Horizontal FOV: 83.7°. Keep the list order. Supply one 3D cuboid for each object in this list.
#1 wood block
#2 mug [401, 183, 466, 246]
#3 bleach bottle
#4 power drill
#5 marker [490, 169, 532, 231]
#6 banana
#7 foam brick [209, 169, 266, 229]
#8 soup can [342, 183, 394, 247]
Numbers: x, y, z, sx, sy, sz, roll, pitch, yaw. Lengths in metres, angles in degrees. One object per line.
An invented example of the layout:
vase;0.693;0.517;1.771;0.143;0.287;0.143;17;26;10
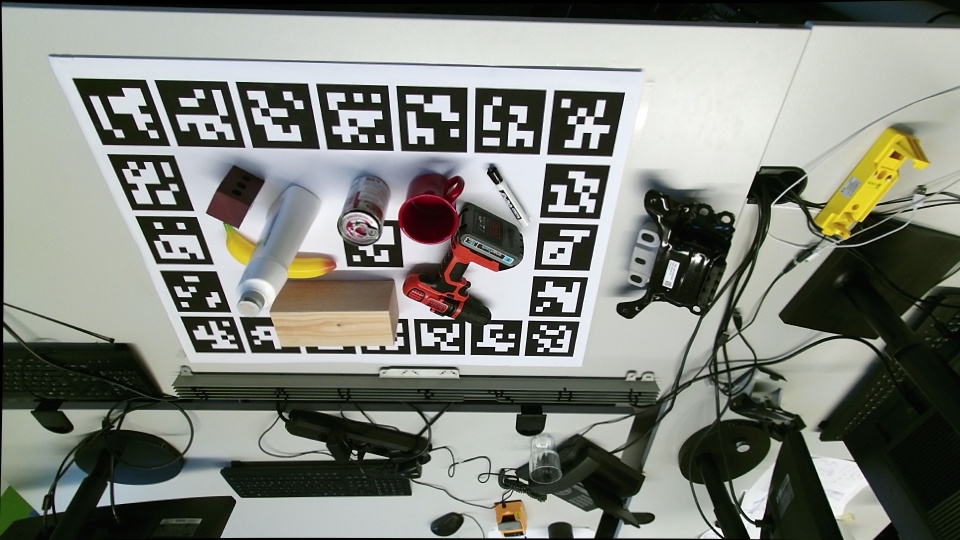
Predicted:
wood block;-0.259;0.086;0.979;0.207;0.090;0.090;0;126;-1
mug;-0.066;-0.093;0.847;0.093;0.081;0.117;39;115;-24
bleach bottle;-0.300;-0.019;0.797;0.068;0.249;0.102;25;124;-19
power drill;-0.022;0.013;0.951;0.185;0.057;0.187;27;124;-16
marker;0.050;-0.115;0.875;0.020;0.019;0.121;-25;123;14
banana;-0.338;0.001;0.940;0.198;0.039;0.074;15;112;-9
foam brick;-0.378;-0.109;0.836;0.053;0.078;0.051;28;124;-23
soup can;-0.174;-0.082;0.835;0.068;0.101;0.068;1;131;1
